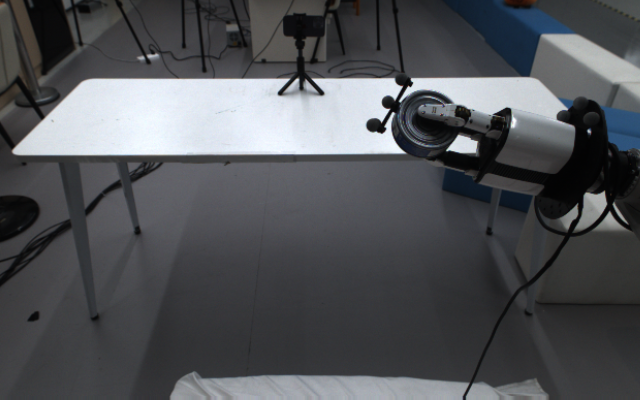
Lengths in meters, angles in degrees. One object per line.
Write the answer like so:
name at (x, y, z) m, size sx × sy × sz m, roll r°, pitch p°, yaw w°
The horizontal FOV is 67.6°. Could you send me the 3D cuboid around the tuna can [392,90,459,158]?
tuna can at (0.141, -0.103, 0.638) m, size 0.085 × 0.034 × 0.085 m, roll 1°, pitch 75°, yaw -5°
